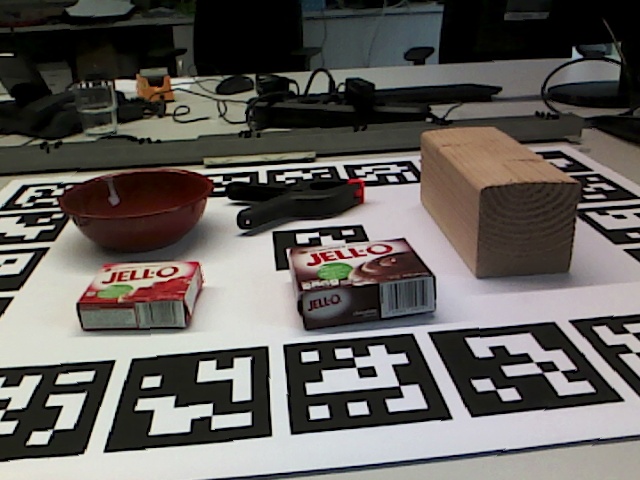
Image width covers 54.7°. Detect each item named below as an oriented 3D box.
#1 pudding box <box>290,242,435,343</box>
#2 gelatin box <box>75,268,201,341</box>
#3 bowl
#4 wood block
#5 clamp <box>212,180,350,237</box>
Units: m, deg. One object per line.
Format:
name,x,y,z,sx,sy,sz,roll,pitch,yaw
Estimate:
pudding box,0.033,0.044,0.537,0.114,0.038,0.090,-7,31,-4
gelatin box,-0.154,0.054,0.535,0.089,0.030,0.073,-1,28,2
bowl,-0.198,-0.025,0.683,0.161,0.055,0.162,-1,29,0
wood block,0.177,-0.043,0.641,0.090,0.091,0.207,-2,27,-3
clamp,-0.042,-0.046,0.738,0.164,0.036,0.122,-8,27,-15
